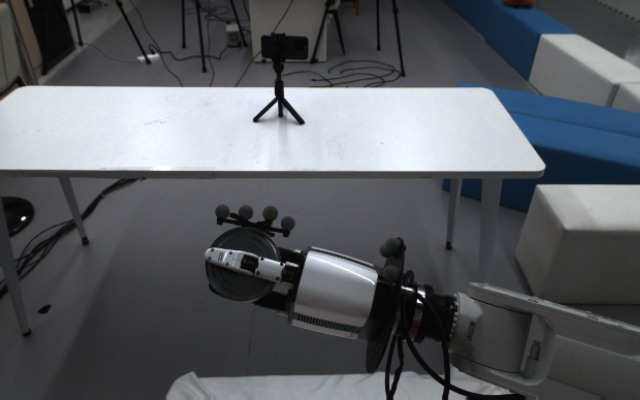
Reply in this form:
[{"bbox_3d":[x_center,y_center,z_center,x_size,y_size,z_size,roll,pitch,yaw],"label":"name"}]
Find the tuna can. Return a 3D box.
[{"bbox_3d":[-0.087,0.075,0.563,0.085,0.034,0.085,1,72,-2],"label":"tuna can"}]
